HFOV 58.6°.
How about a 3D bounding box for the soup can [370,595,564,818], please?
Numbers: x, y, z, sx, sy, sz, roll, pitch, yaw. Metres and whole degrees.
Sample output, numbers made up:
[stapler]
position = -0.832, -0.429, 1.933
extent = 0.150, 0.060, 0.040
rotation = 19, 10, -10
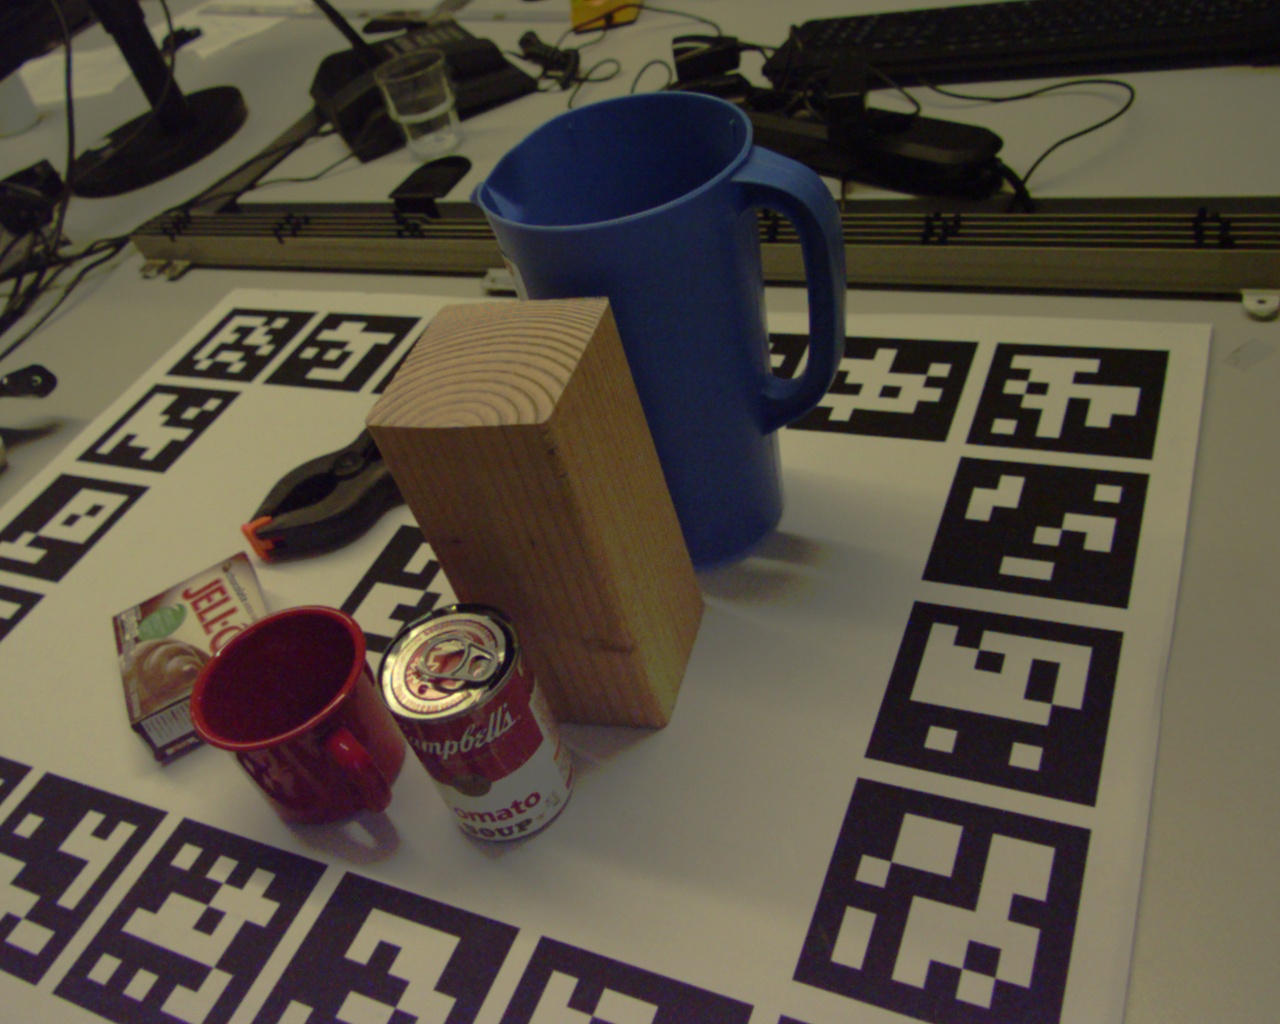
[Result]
[soup can]
position = -0.084, 0.100, 0.576
extent = 0.068, 0.101, 0.068
rotation = -11, 43, 10

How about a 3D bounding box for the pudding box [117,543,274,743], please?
[pudding box]
position = -0.275, 0.081, 0.725
extent = 0.090, 0.038, 0.115
rotation = -32, 41, -10

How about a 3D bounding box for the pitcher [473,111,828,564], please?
[pitcher]
position = 0.019, -0.089, 0.642
extent = 0.191, 0.240, 0.133
rotation = 4, 43, 28

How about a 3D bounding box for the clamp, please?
[clamp]
position = -0.193, -0.024, 0.816
extent = 0.164, 0.036, 0.123
rotation = -36, 51, -18

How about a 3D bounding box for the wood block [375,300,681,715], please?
[wood block]
position = -0.047, 0.003, 0.589
extent = 0.091, 0.205, 0.090
rotation = 7, 46, 22

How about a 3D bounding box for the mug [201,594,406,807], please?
[mug]
position = -0.172, 0.112, 0.615
extent = 0.093, 0.081, 0.119
rotation = -29, 40, -15
